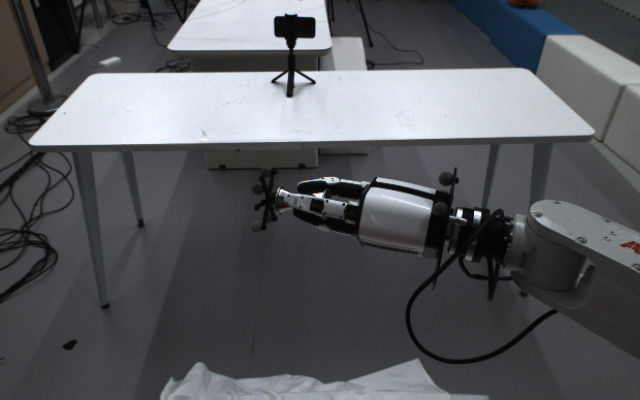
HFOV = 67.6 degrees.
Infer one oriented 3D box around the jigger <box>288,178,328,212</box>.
[{"bbox_3d":[-0.017,0.000,0.664,0.071,0.043,0.043,5,34,15],"label":"jigger"}]
